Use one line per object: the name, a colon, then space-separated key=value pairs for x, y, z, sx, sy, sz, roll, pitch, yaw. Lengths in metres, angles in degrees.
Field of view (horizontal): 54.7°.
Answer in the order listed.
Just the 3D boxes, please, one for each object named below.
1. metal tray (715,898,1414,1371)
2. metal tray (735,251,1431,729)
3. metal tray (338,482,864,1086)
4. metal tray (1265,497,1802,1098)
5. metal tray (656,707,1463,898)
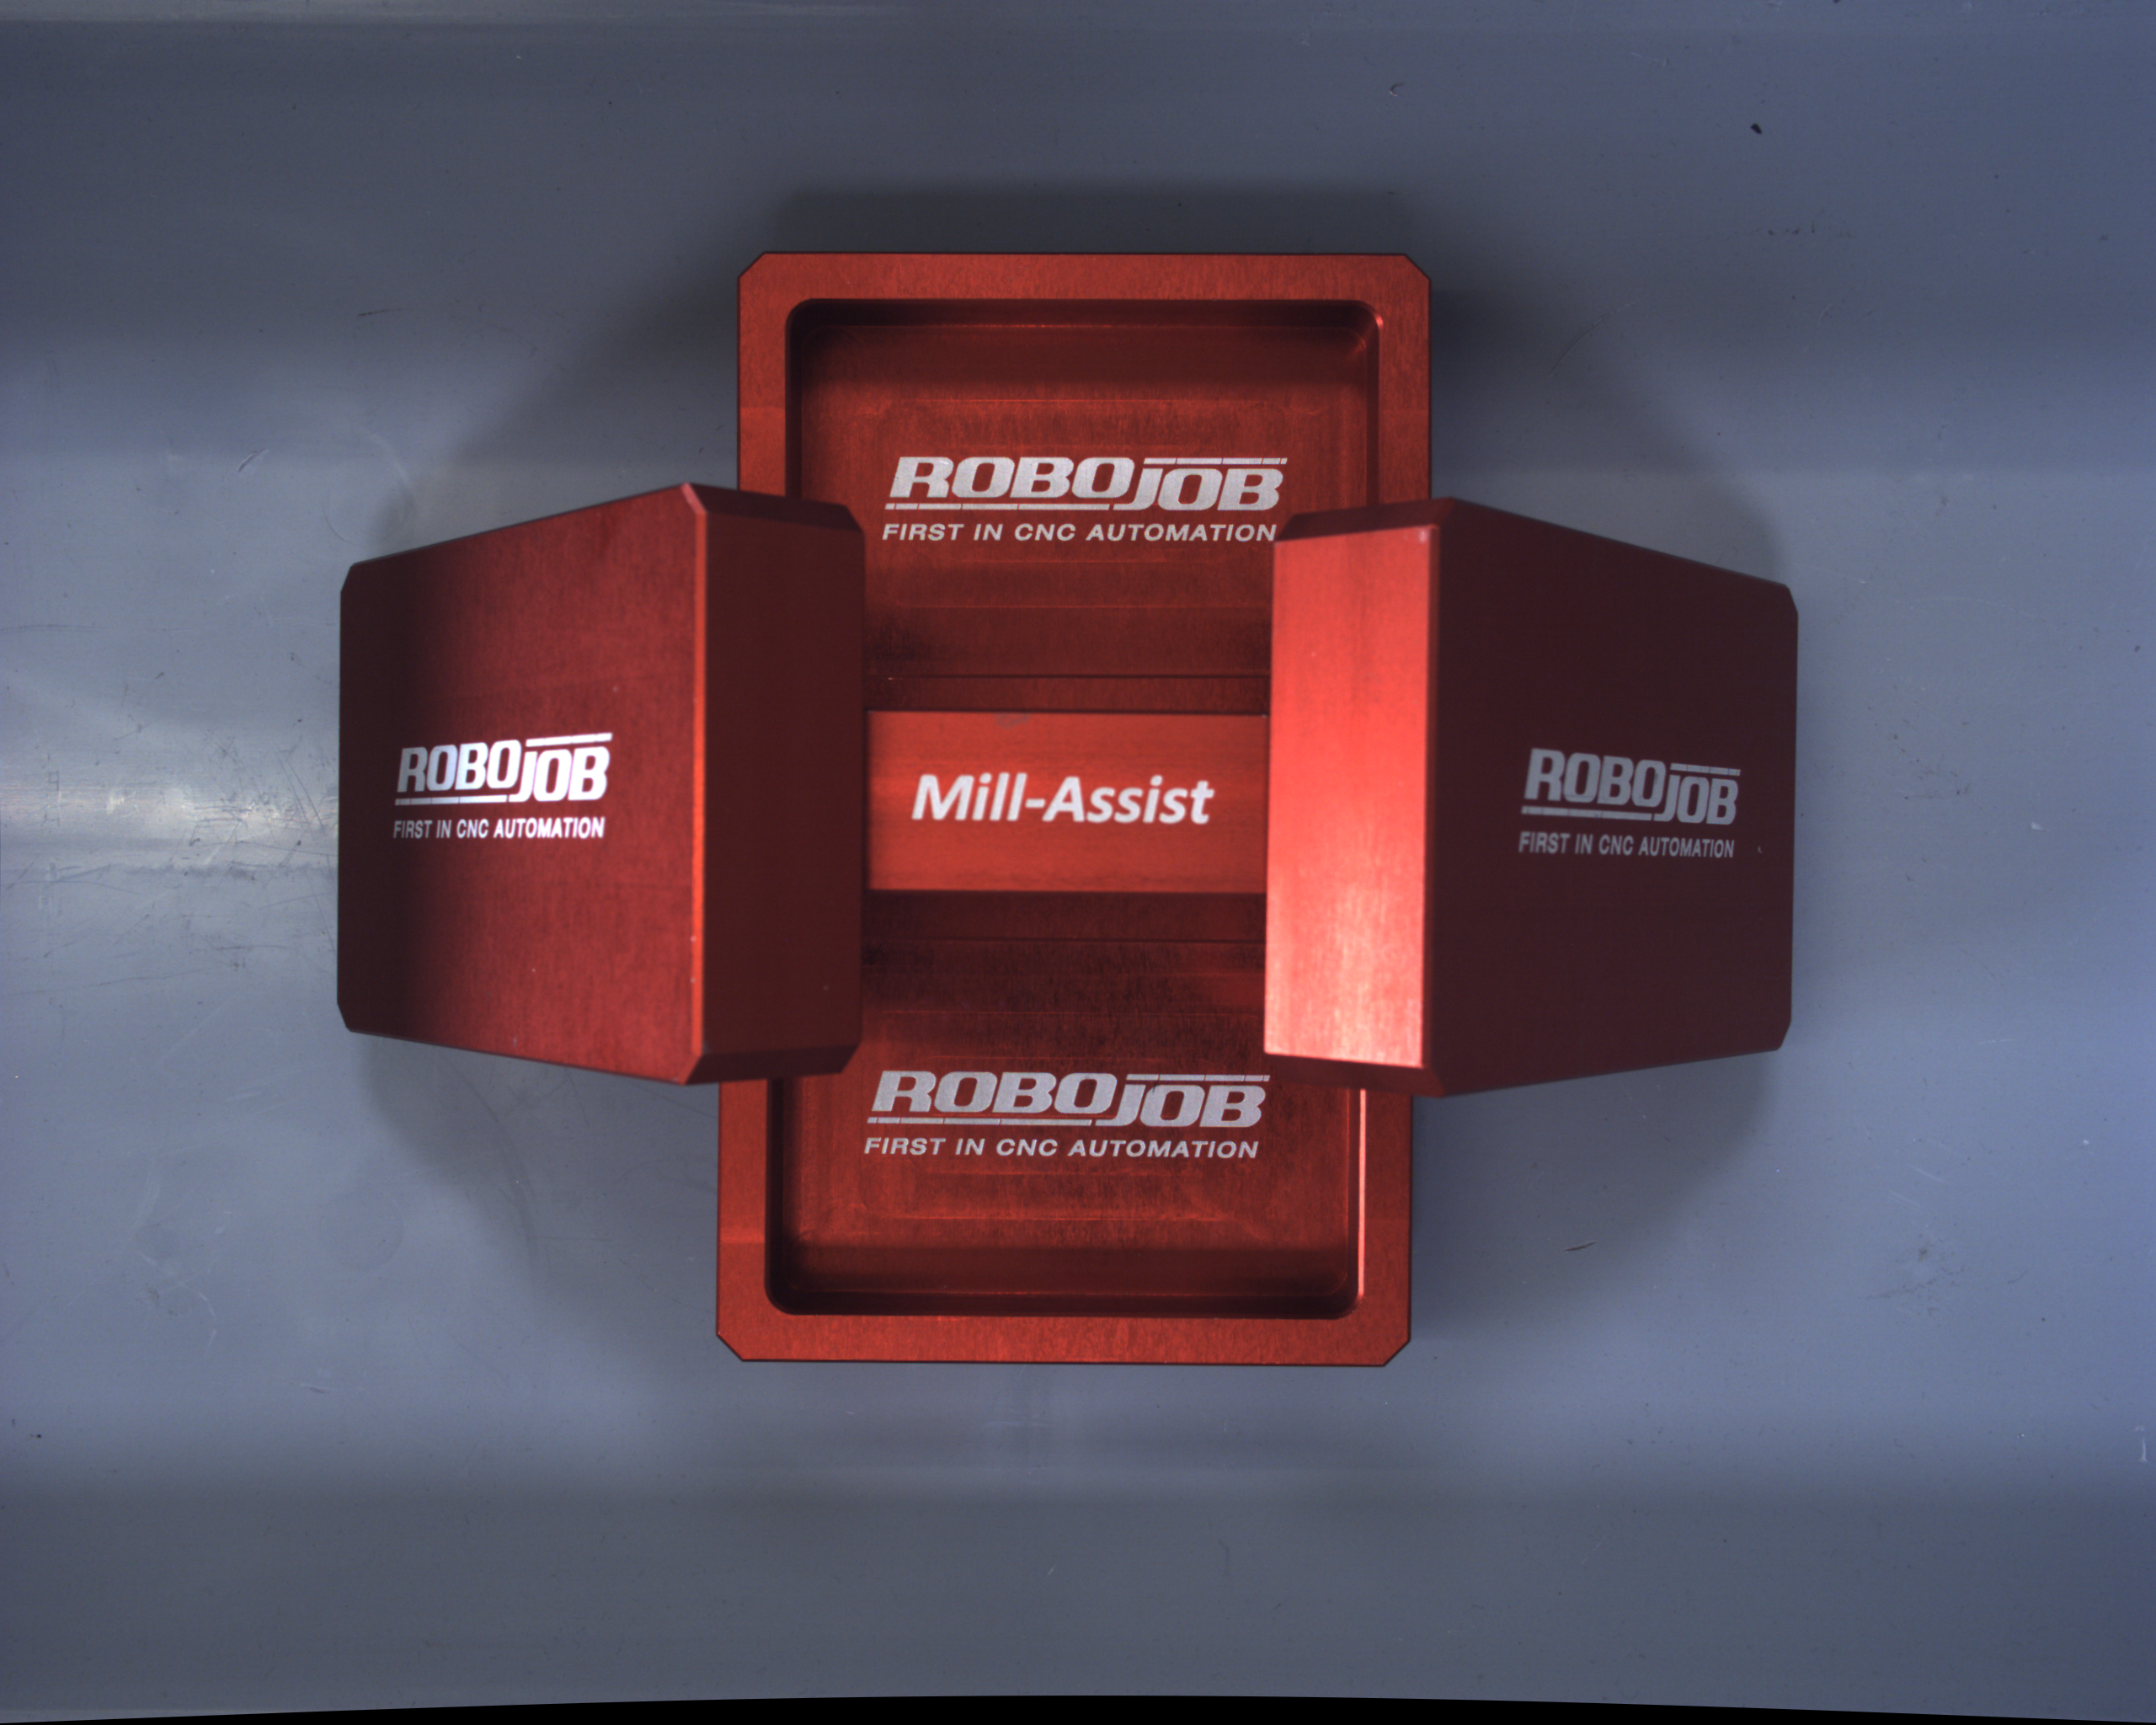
metal tray: x=-0.002 y=0.050 z=0.405 sx=0.131 sy=0.030 sz=0.089 roll=0 pitch=90 yaw=-1
metal tray: x=0.001 y=-0.070 z=0.407 sx=0.131 sy=0.030 sz=0.089 roll=0 pitch=91 yaw=-1
metal tray: x=-0.088 y=-0.012 z=0.363 sx=0.030 sy=0.130 sz=0.089 roll=1 pitch=90 yaw=-42
metal tray: x=0.084 y=-0.009 z=0.364 sx=0.030 sy=0.131 sz=0.089 roll=1 pitch=90 yaw=42
metal tray: x=-0.003 y=-0.010 z=0.377 sx=0.131 sy=0.090 sz=0.030 roll=0 pitch=90 yaw=-1
